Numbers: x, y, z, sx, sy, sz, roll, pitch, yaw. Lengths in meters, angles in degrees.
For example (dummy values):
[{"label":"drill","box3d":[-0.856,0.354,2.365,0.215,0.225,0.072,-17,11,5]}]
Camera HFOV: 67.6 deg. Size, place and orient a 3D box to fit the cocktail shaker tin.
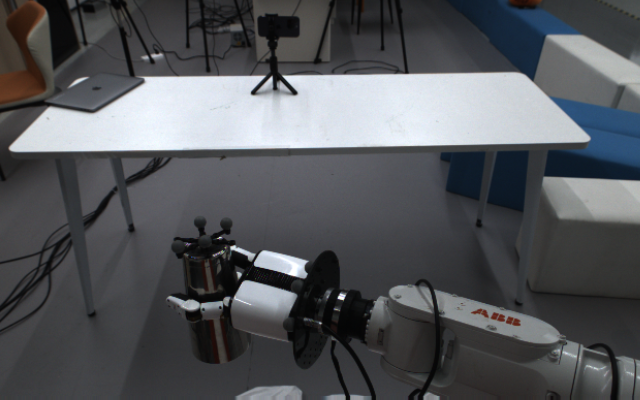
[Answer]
[{"label":"cocktail shaker tin","box3d":[-0.153,0.141,0.705,0.093,0.170,0.093,-2,26,1]}]
